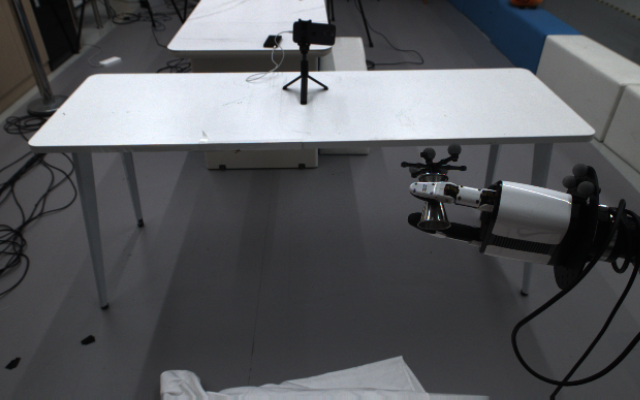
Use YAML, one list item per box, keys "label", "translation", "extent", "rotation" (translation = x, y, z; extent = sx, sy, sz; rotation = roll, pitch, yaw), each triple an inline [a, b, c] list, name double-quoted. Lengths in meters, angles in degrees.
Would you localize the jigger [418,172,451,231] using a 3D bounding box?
- label: "jigger"
  translation: [0.152, 0.001, 0.654]
  extent: [0.043, 0.043, 0.071]
  rotation: [3, 71, 2]
